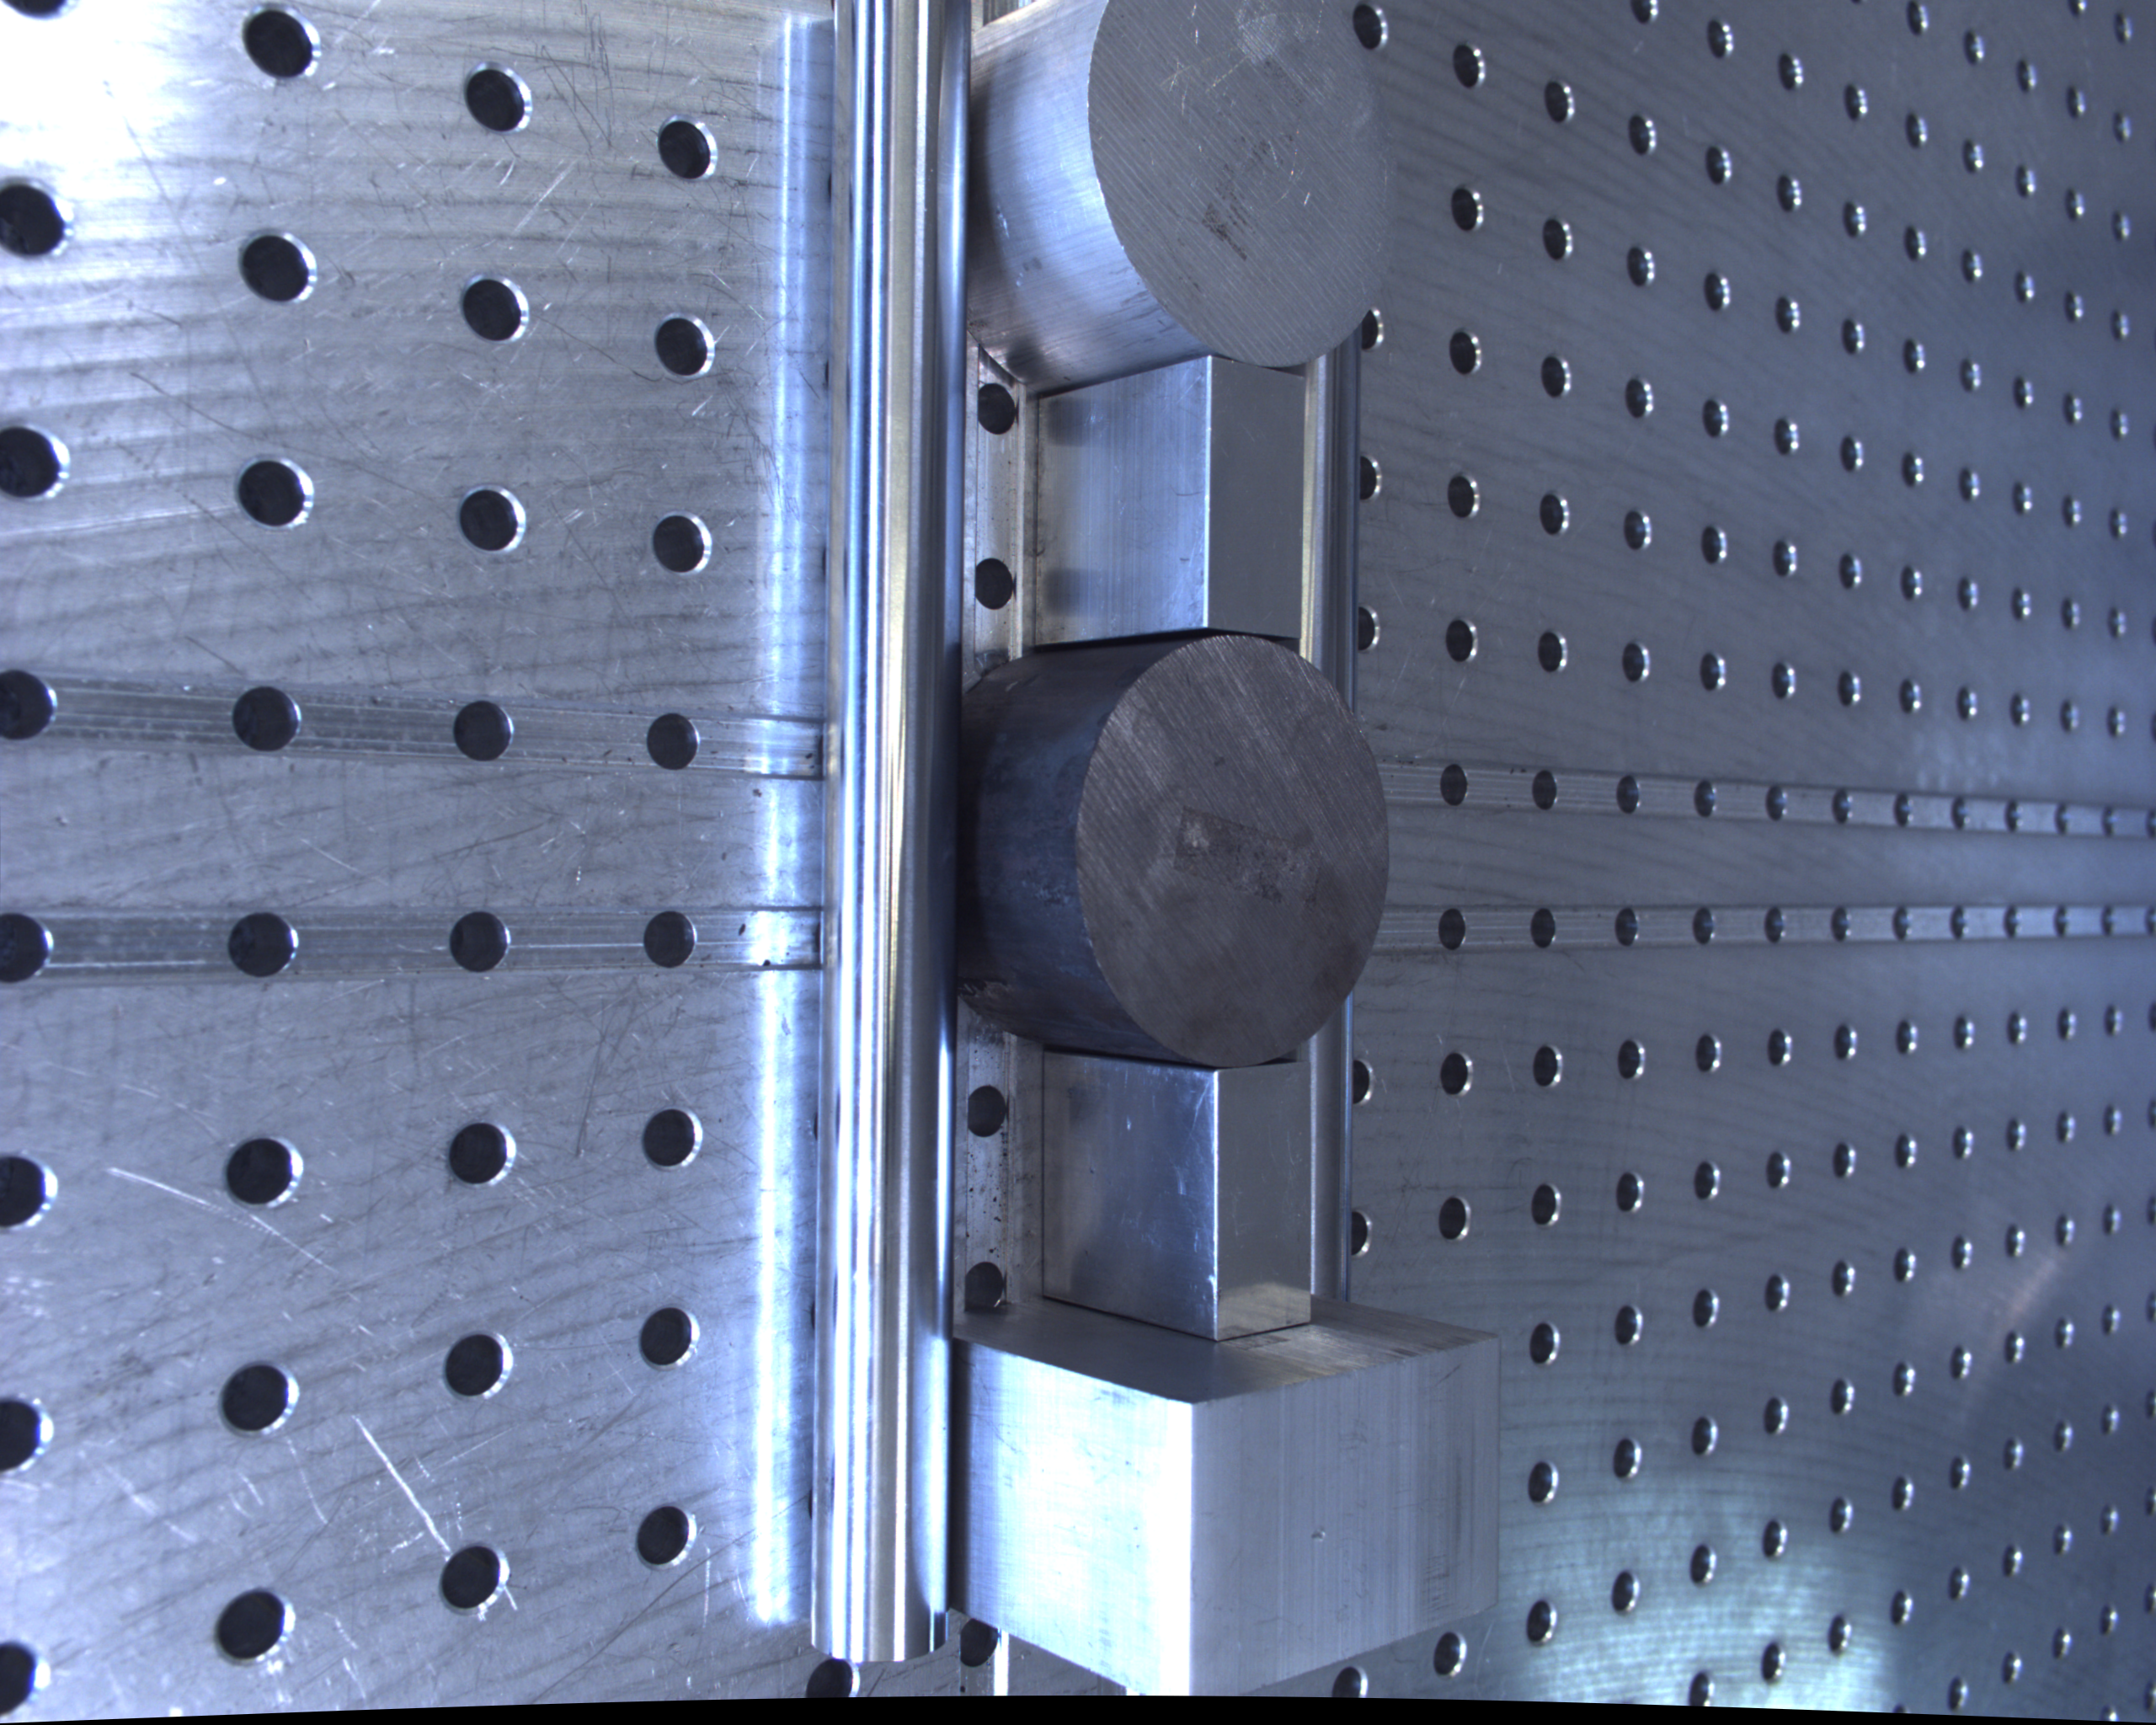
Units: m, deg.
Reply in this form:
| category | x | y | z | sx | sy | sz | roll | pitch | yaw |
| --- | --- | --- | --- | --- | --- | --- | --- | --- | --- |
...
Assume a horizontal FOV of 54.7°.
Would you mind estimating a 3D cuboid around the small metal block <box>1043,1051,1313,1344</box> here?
| category | x | y | z | sx | sy | sz | roll | pitch | yaw |
| --- | --- | --- | --- | --- | --- | --- | --- | --- | --- |
| small metal block | 0.019 | 0.063 | 0.407 | 0.025 | 0.050 | 0.050 | 0 | 90 | -40 |

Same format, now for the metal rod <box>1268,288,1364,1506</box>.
| category | x | y | z | sx | sy | sz | roll | pitch | yaw |
| --- | --- | --- | --- | --- | --- | --- | --- | --- | --- |
| metal rod | 0.048 | -0.008 | 0.448 | 0.025 | 0.025 | 0.298 | 1 | 89 | -40 |

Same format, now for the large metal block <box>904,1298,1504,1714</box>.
| category | x | y | z | sx | sy | sz | roll | pitch | yaw |
| --- | --- | --- | --- | --- | --- | --- | --- | --- | --- |
| large metal block | 0.022 | 0.112 | 0.392 | 0.081 | 0.080 | 0.050 | 1 | 90 | -40 |

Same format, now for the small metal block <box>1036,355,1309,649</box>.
| category | x | y | z | sx | sy | sz | roll | pitch | yaw |
| --- | --- | --- | --- | --- | --- | --- | --- | --- | --- |
| small metal block | 0.018 | -0.067 | 0.406 | 0.025 | 0.050 | 0.050 | 1 | 90 | -40 |

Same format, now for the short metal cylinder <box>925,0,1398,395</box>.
| category | x | y | z | sx | sy | sz | roll | pitch | yaw |
| --- | --- | --- | --- | --- | --- | --- | --- | --- | --- |
| short metal cylinder | 0.016 | -0.132 | 0.405 | 0.081 | 0.050 | 0.080 | 0 | 90 | -40 |

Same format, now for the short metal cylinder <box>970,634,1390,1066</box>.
| category | x | y | z | sx | sy | sz | roll | pitch | yaw |
| --- | --- | --- | --- | --- | --- | --- | --- | --- | --- |
| short metal cylinder | 0.014 | -0.002 | 0.404 | 0.081 | 0.050 | 0.080 | 0 | 90 | -40 |

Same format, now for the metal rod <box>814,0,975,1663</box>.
| category | x | y | z | sx | sy | sz | roll | pitch | yaw |
| --- | --- | --- | --- | --- | --- | --- | --- | --- | --- |
| metal rod | -0.033 | -0.009 | 0.380 | 0.025 | 0.025 | 0.298 | 1 | 89 | -40 |
